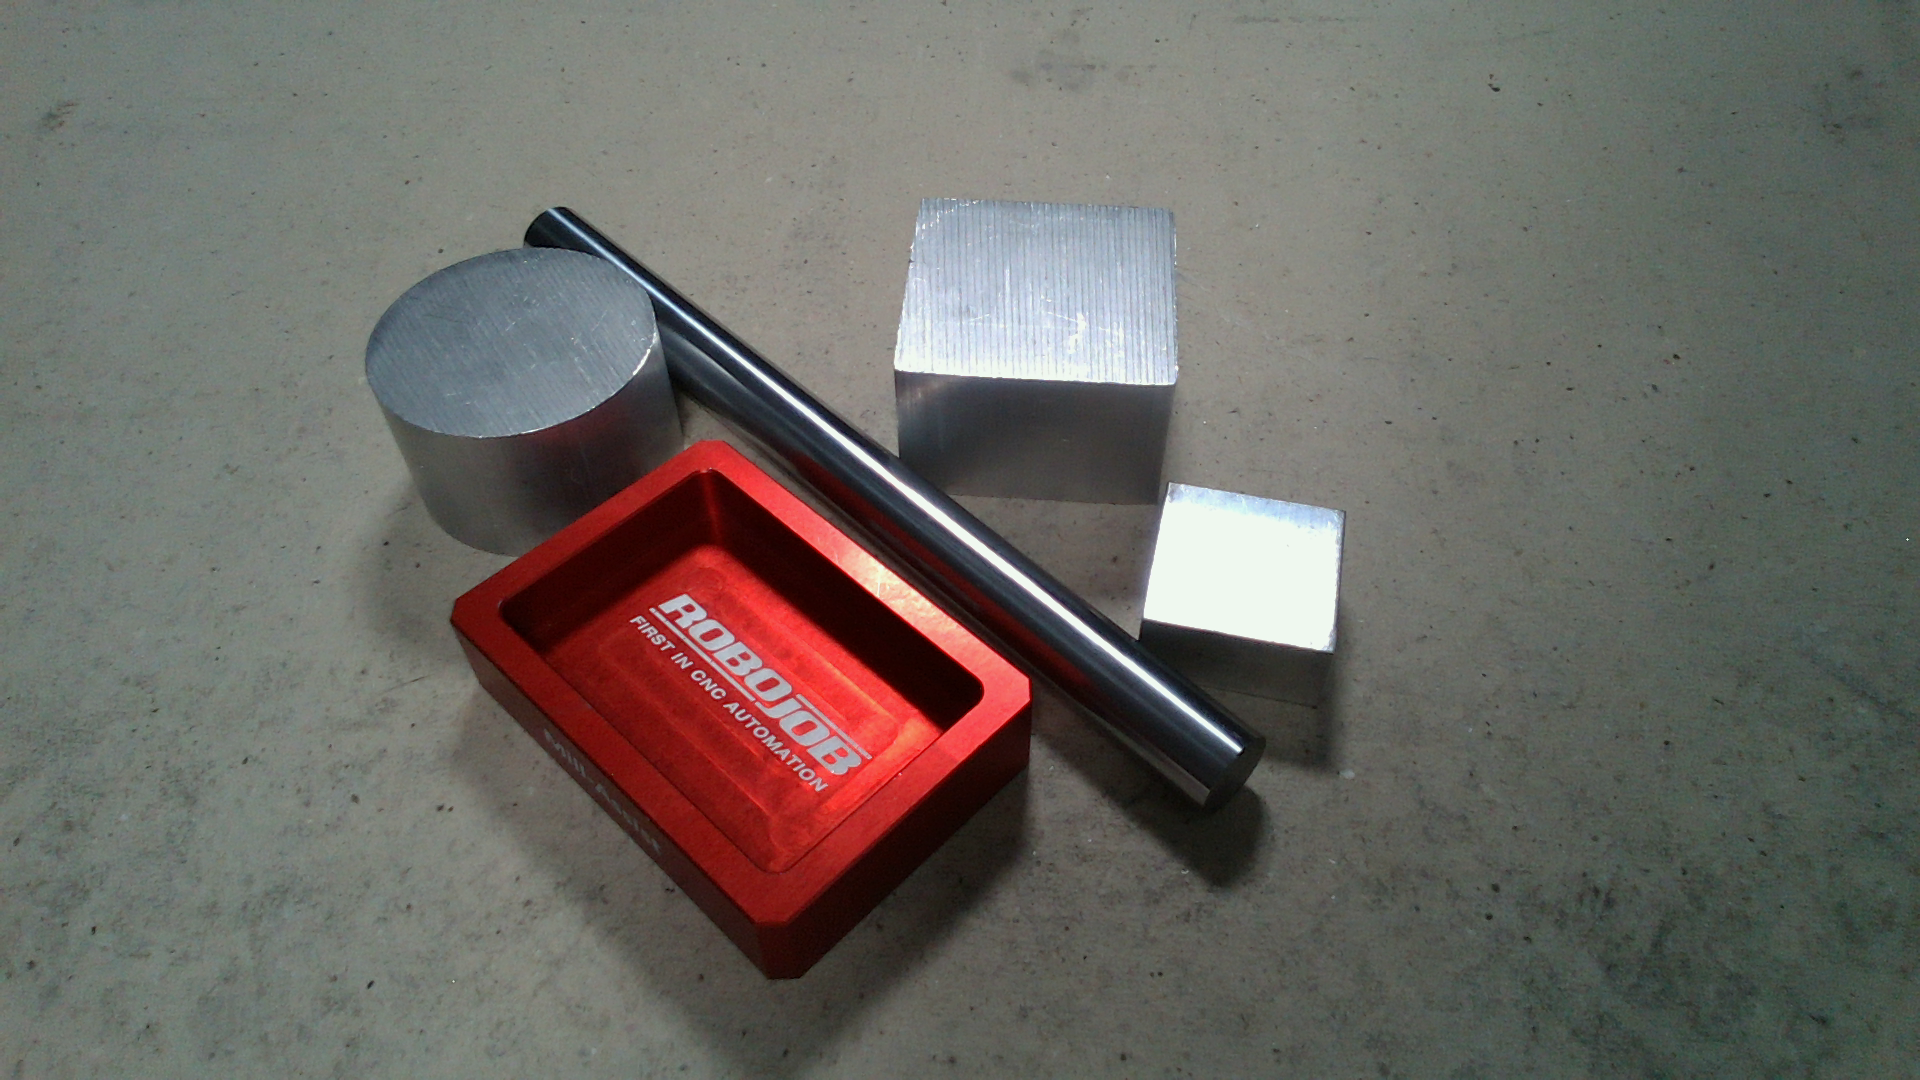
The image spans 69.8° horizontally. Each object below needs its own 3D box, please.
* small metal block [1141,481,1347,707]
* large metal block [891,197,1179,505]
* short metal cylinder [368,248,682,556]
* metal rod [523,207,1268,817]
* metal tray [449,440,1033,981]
[{"bbox_3d":[0.078,0.014,0.380,0.050,0.025,0.050,10,51,8],"label":"small metal block"},{"bbox_3d":[0.024,-0.060,0.426,0.080,0.050,0.080,3,50,3],"label":"large metal block"},{"bbox_3d":[-0.127,-0.042,0.411,0.080,0.050,0.080,0,50,0],"label":"short metal cylinder"},{"bbox_3d":[-0.036,-0.023,0.410,0.025,0.025,0.299,-37,59,-27],"label":"metal rod"},{"bbox_3d":[-0.056,0.037,0.357,0.130,0.030,0.090,37,59,27],"label":"metal tray"}]
